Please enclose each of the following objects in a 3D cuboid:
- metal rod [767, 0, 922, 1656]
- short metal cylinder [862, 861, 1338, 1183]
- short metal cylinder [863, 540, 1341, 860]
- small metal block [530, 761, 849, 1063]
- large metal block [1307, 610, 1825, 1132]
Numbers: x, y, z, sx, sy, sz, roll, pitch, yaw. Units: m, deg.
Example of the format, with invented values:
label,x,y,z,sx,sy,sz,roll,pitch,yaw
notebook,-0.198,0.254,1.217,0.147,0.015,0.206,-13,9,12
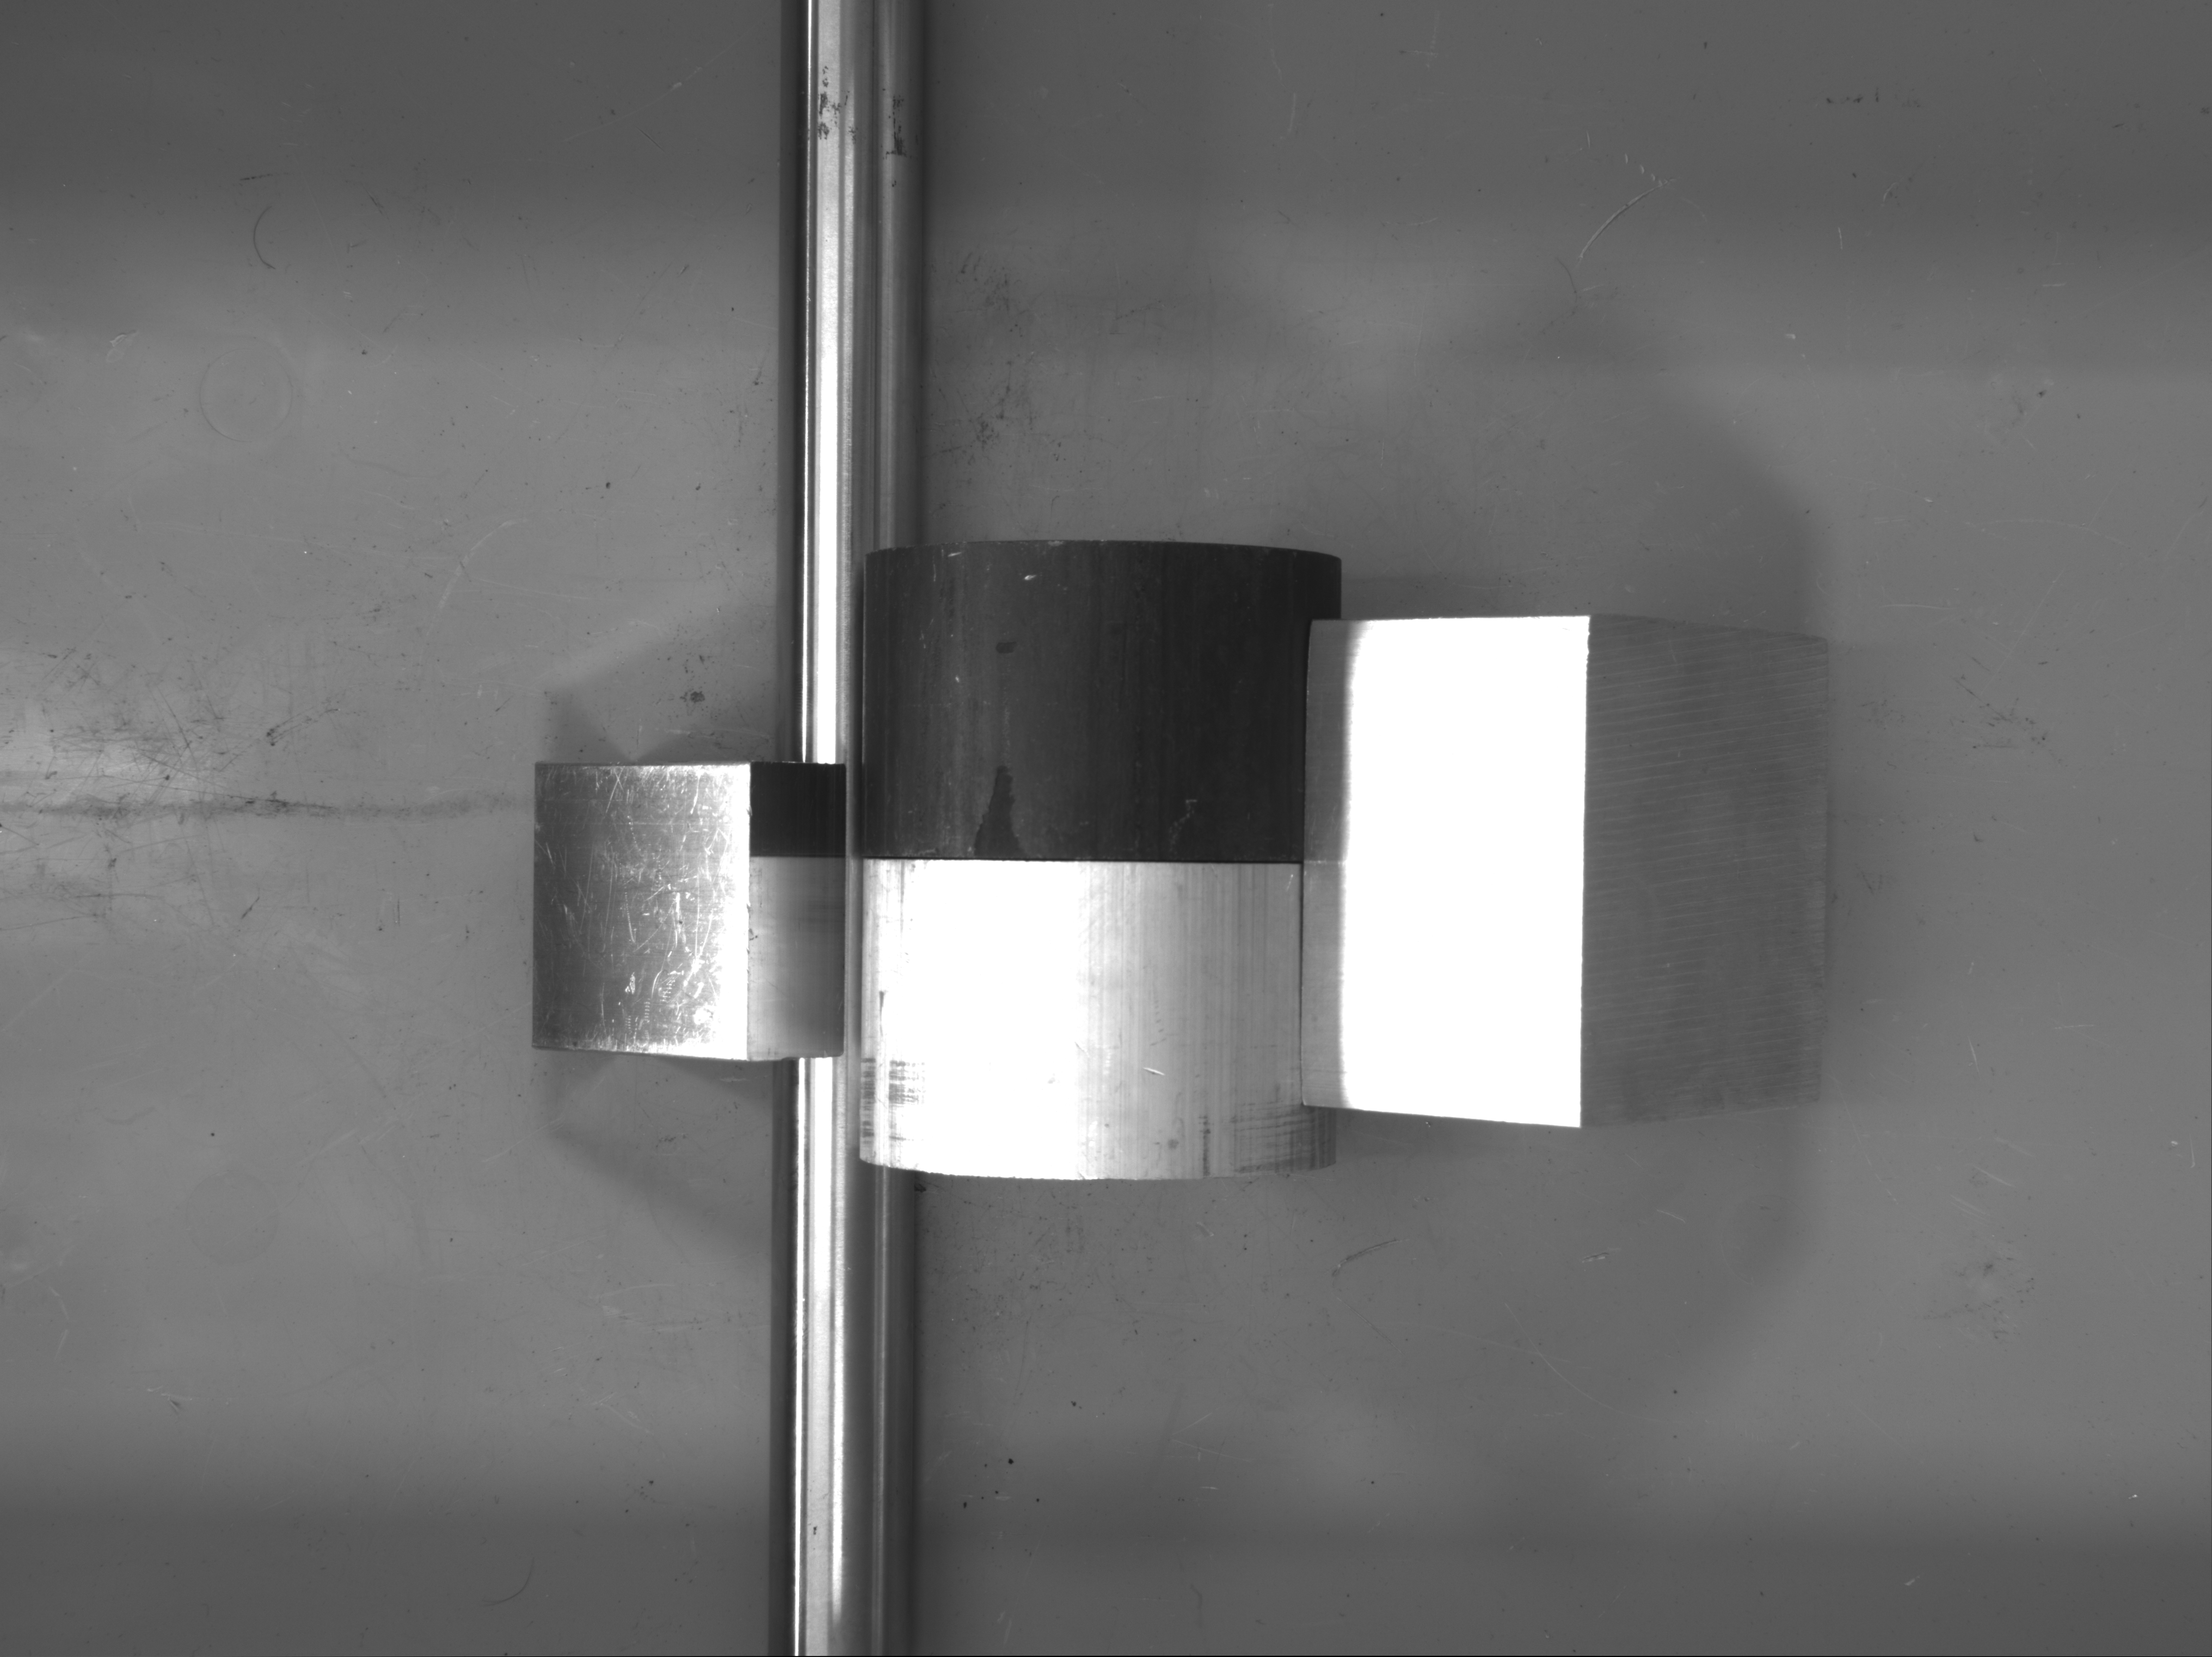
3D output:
label,x,y,z,sx,sy,sz,roll,pitch,yaw
metal rod,-0.046,-0.002,0.644,0.025,0.025,0.300,0,90,0
short metal cylinder,-0.001,0.031,0.617,0.080,0.080,0.050,1,90,0
short metal cylinder,-0.001,-0.020,0.617,0.080,0.080,0.050,1,90,0
small metal block,-0.072,0.014,0.633,0.050,0.025,0.050,0,89,35
large metal block,0.078,0.006,0.610,0.050,0.080,0.080,1,90,38
